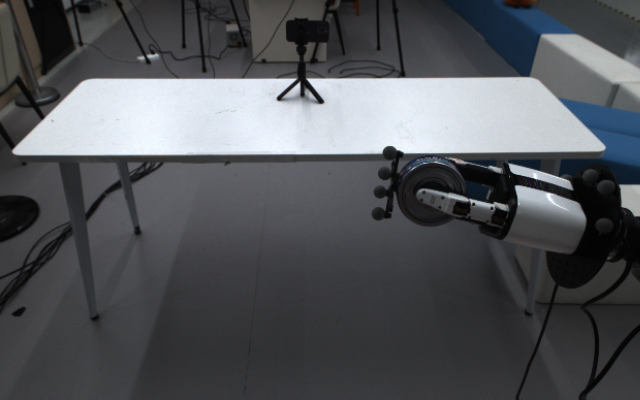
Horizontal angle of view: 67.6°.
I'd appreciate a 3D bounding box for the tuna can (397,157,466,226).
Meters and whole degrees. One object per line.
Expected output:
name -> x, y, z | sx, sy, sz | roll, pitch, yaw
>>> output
tuna can -> 0.140, -0.014, 0.604 | 0.085, 0.085, 0.034 | 4, 17, 3
